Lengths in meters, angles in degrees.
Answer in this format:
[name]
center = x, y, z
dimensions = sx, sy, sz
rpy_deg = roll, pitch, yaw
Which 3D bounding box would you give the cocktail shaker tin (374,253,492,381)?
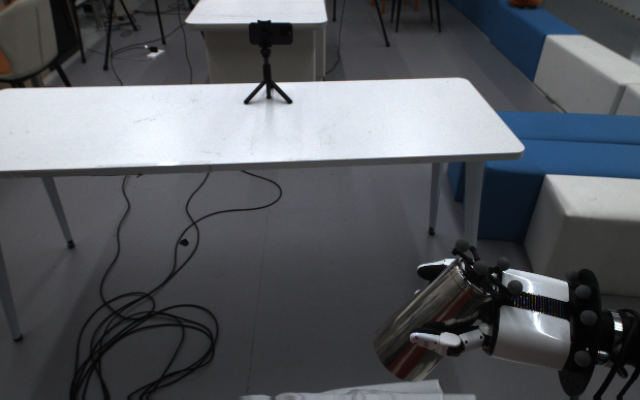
[cocktail shaker tin]
center = 0.155, 0.150, 0.647
dimensions = 0.093, 0.170, 0.093
rpy_deg = 26, 32, -17
